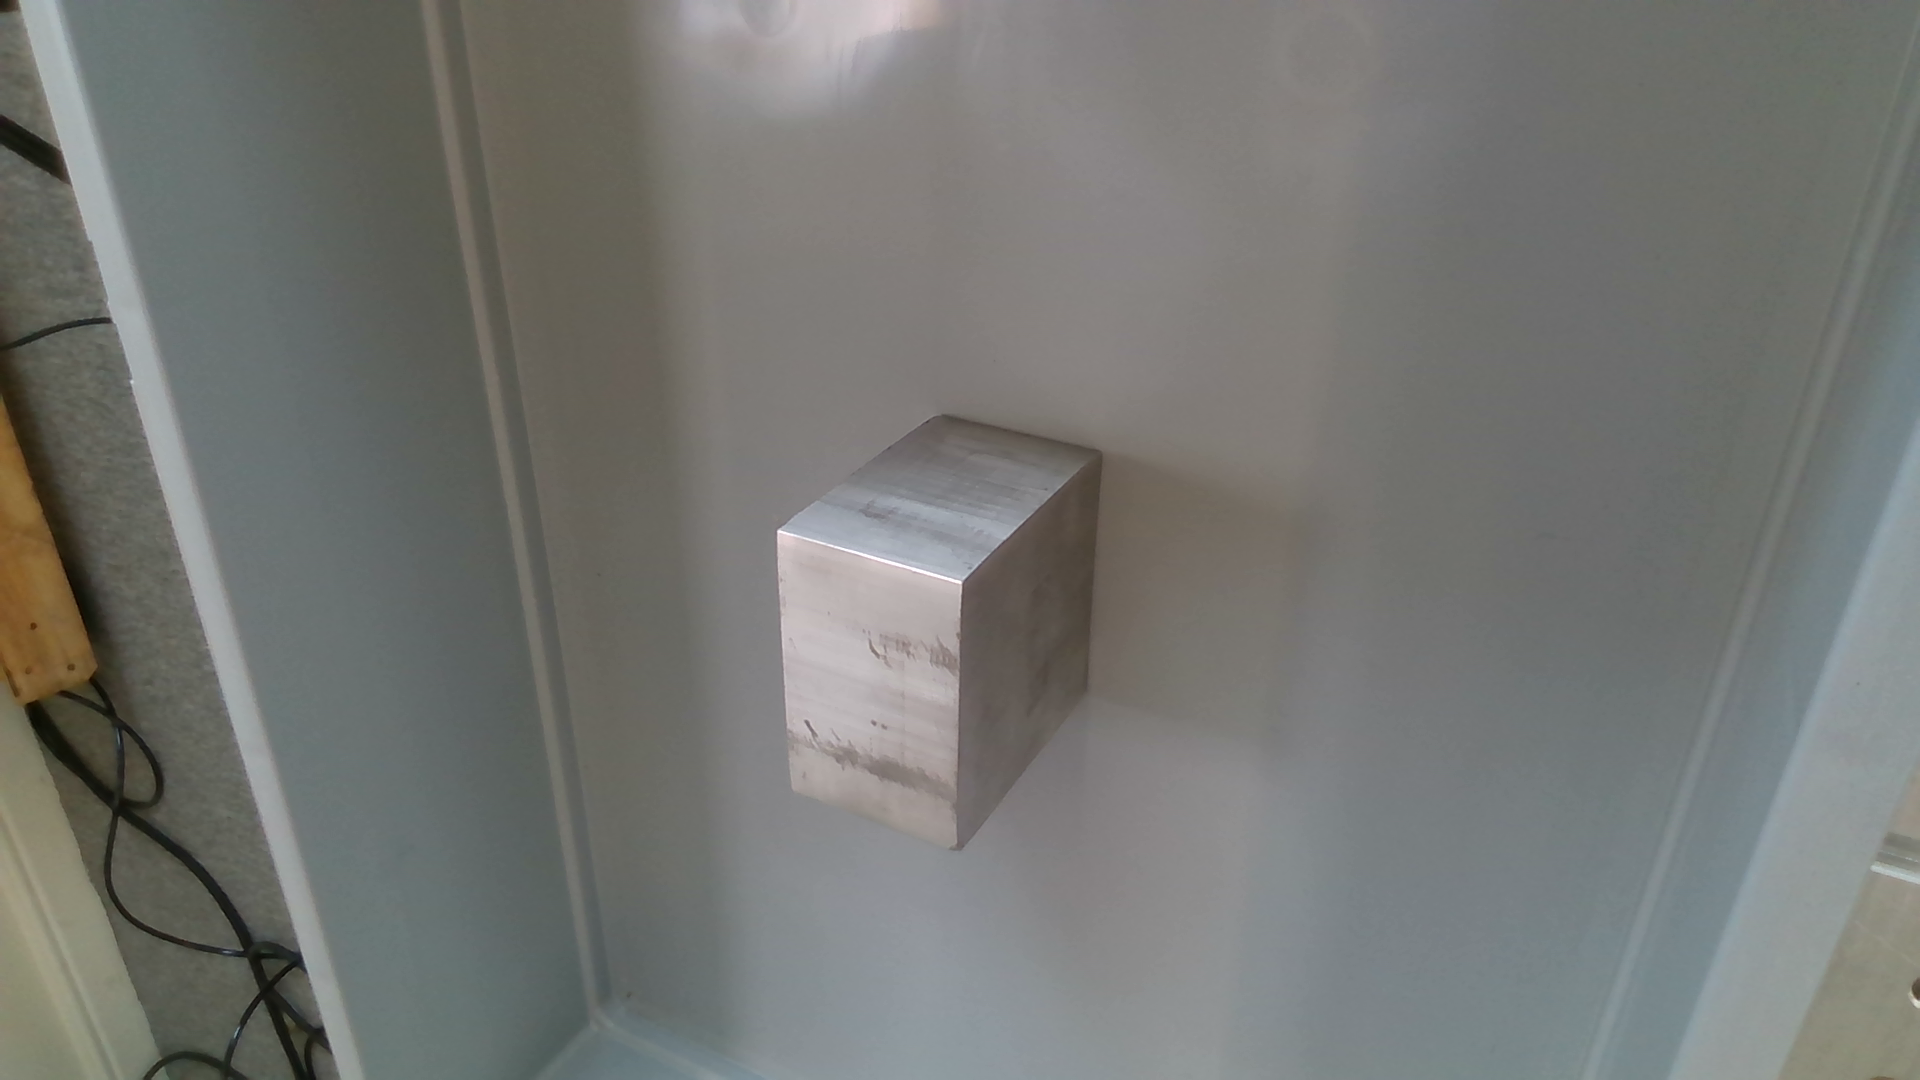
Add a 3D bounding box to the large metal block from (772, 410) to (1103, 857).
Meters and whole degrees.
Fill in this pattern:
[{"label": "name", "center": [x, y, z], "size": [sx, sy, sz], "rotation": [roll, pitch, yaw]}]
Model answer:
[{"label": "large metal block", "center": [-0.004, 0.021, 0.364], "size": [0.050, 0.080, 0.080], "rotation": [15, 123, 24]}]
